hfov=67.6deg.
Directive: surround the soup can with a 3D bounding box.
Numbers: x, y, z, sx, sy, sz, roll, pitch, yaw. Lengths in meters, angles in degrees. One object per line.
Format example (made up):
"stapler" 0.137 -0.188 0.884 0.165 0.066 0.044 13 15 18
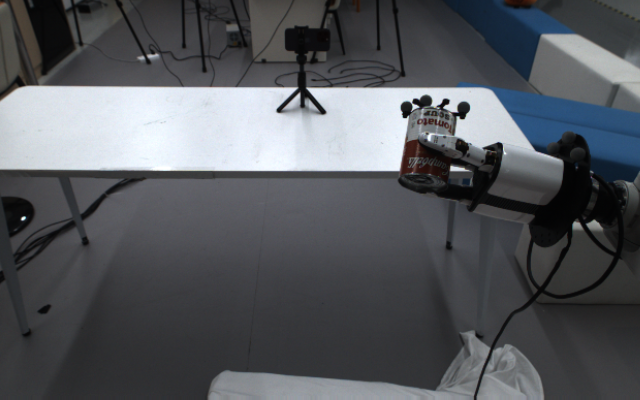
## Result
"soup can" 0.150 -0.071 0.670 0.067 0.067 0.101 8 74 9
